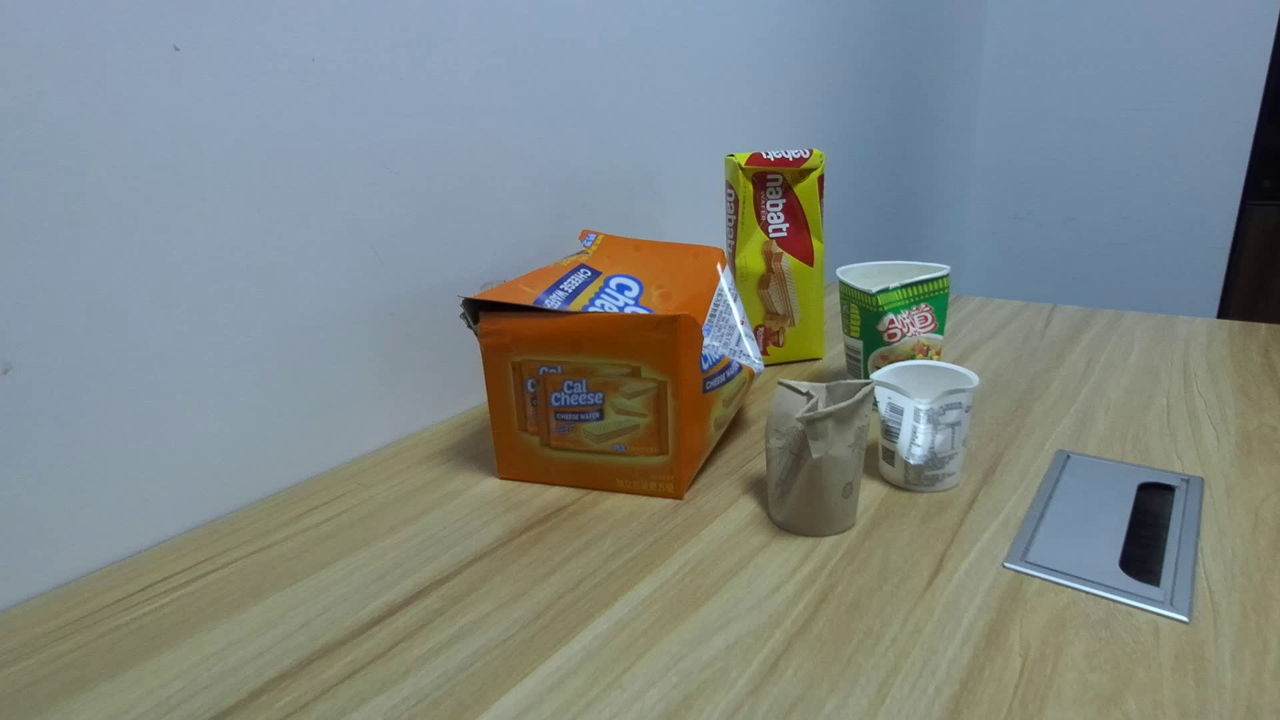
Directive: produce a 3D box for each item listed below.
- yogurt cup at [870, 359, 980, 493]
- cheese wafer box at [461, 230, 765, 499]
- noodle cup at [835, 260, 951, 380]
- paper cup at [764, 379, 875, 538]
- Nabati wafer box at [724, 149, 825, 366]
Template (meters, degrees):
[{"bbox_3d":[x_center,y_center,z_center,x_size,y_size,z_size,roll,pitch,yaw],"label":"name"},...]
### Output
[{"bbox_3d":[0.189,0.043,0.473,0.067,0.070,0.067,-5,19,2],"label":"yogurt cup"},{"bbox_3d":[0.001,-0.013,0.561,0.191,0.145,0.219,2,20,18],"label":"cheese wafer box"},{"bbox_3d":[0.211,-0.021,0.592,0.094,0.109,0.086,-7,19,-7],"label":"noodle cup"},{"bbox_3d":[0.104,0.057,0.433,0.058,0.083,0.067,10,23,37],"label":"paper cup"},{"bbox_3d":[0.131,-0.096,0.682,0.096,0.203,0.042,-6,16,-13],"label":"Nabati wafer box"}]
